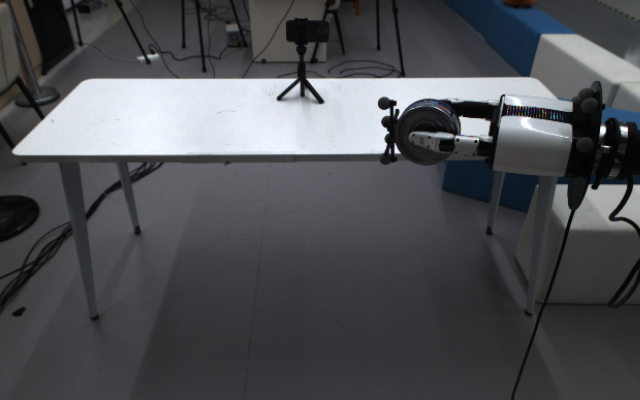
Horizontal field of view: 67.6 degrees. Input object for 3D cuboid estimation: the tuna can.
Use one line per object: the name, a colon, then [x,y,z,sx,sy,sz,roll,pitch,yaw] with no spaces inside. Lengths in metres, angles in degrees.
tuna can: [0.147,-0.095,0.658,0.085,0.085,0.034,13,27,15]
